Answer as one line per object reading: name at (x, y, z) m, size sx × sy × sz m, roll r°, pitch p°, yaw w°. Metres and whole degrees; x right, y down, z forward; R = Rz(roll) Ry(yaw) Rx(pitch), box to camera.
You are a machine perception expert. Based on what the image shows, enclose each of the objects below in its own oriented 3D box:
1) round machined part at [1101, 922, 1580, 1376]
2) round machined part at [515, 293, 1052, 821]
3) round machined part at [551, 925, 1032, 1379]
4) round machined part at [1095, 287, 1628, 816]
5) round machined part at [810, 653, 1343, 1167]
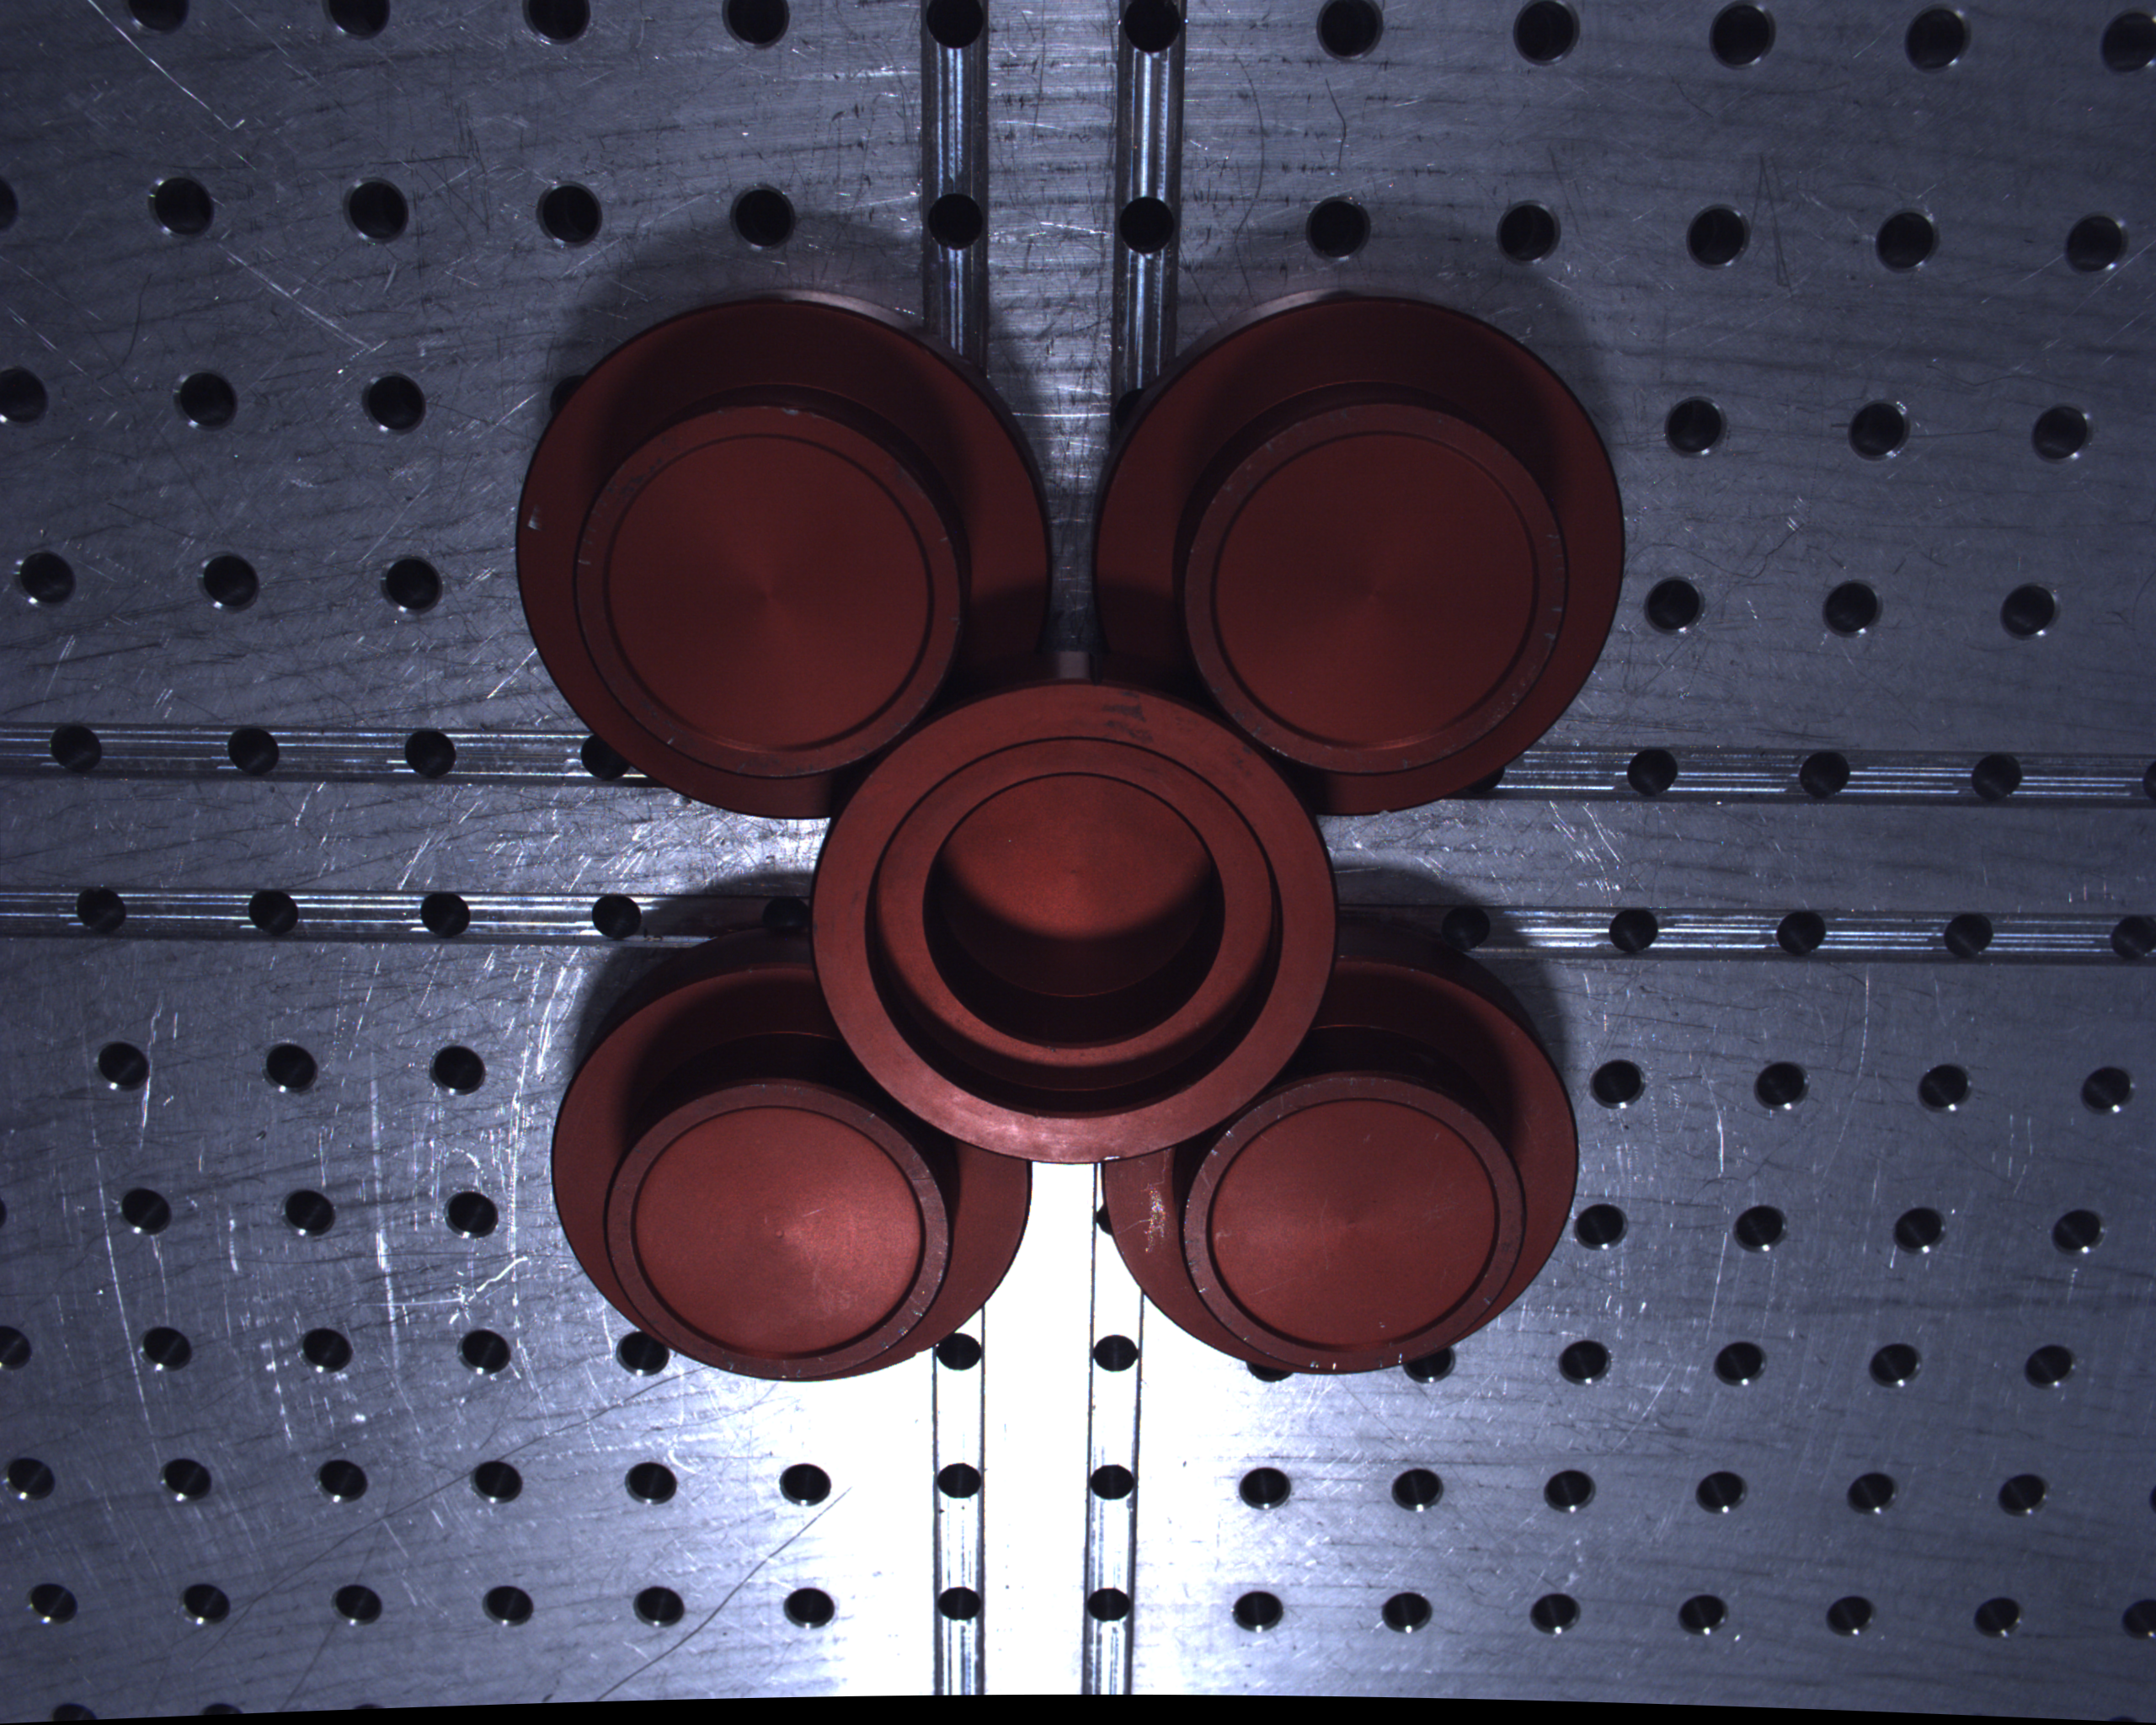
round machined part at (0.054, 0.064, 0.428) m, size 0.099 × 0.042 × 0.097 m, roll 0°, pitch 110°, yaw -1°
round machined part at (-0.054, -0.053, 0.383) m, size 0.099 × 0.042 × 0.097 m, roll 0°, pitch 110°, yaw -1°
round machined part at (-0.059, 0.065, 0.428) m, size 0.099 × 0.042 × 0.097 m, roll 0°, pitch 110°, yaw -1°
round machined part at (0.052, -0.054, 0.384) m, size 0.099 × 0.042 × 0.097 m, roll 0°, pitch 110°, yaw -1°
round machined part at (0.000, 0.006, 0.405) m, size 0.099 × 0.042 × 0.097 m, roll 0°, pitch 110°, yaw -1°
